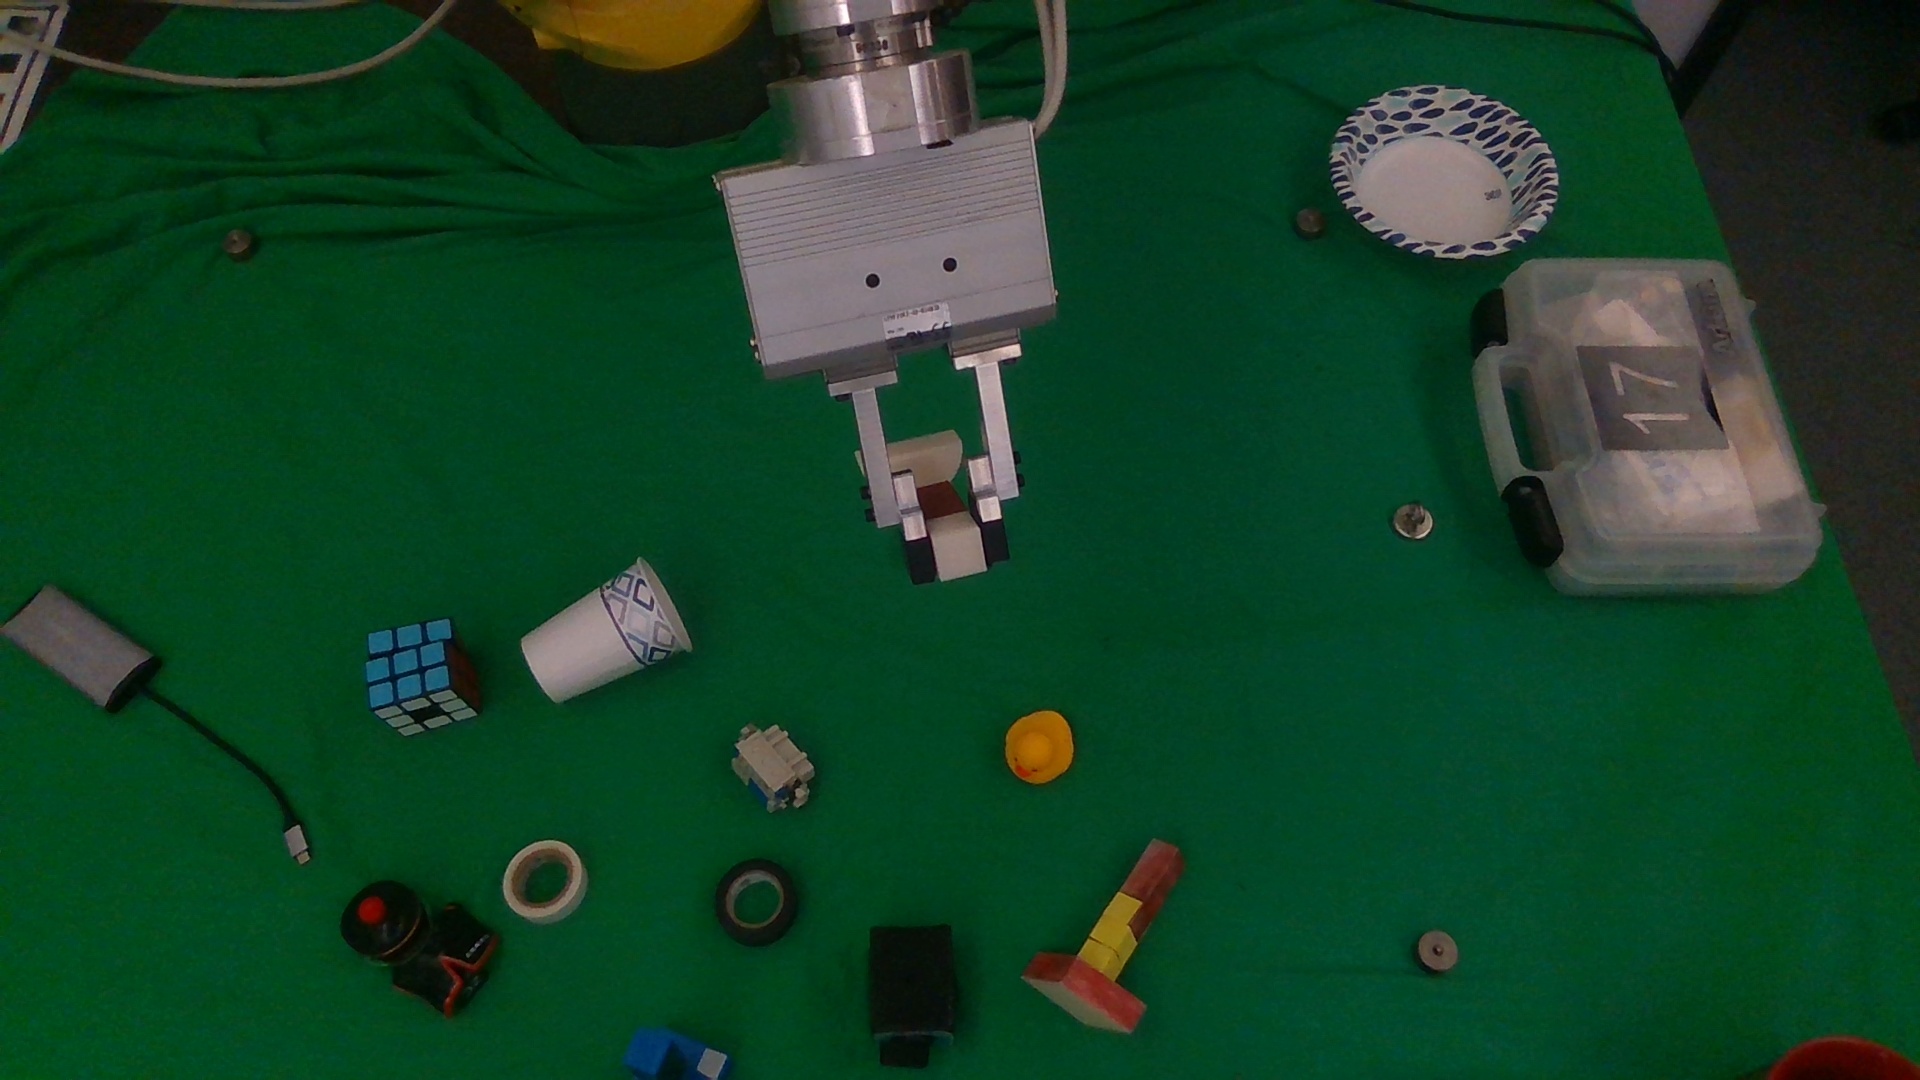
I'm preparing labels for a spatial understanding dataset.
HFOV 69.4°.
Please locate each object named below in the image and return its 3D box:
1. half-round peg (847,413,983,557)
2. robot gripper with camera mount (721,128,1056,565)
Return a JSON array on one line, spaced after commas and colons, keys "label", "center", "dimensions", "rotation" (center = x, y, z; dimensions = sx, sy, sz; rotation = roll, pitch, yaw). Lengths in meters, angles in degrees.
[{"label": "half-round peg", "center": [-0.015, -0.024, 0.612], "dimensions": [0.054, 0.031, 0.122], "rotation": [-14, 22, -8]}, {"label": "robot gripper with camera mount", "center": [-0.036, -0.090, 0.617], "dimensions": [0.119, 0.194, 0.158], "rotation": [-14, 108, -9]}]
